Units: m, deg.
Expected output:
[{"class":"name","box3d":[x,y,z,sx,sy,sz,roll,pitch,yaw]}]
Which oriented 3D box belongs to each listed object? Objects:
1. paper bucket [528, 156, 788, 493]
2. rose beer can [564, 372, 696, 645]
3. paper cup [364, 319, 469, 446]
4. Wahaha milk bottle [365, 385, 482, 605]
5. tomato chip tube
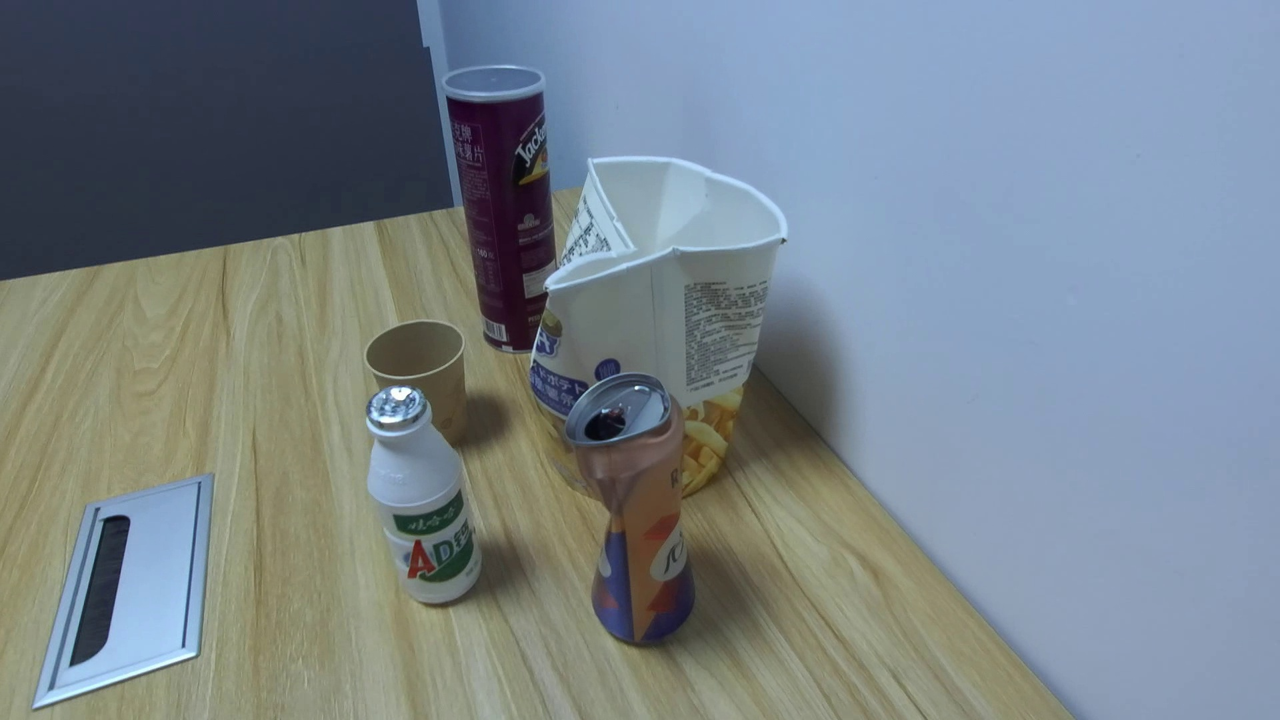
[{"class":"paper bucket","box3d":[-0.005,-0.022,0.510,0.169,0.202,0.162,-12,37,-20]},{"class":"rose beer can","box3d":[-0.001,0.088,0.397,0.070,0.168,0.069,-30,43,-29]},{"class":"paper cup","box3d":[-0.167,0.025,0.548,0.075,0.082,0.075,0,35,0]},{"class":"Wahaha milk bottle","box3d":[-0.129,0.082,0.418,0.053,0.147,0.053,0,36,0]},{"class":"tomato chip tube","box3d":[-0.112,-0.118,0.610,0.078,0.234,0.078,-1,32,1]}]
